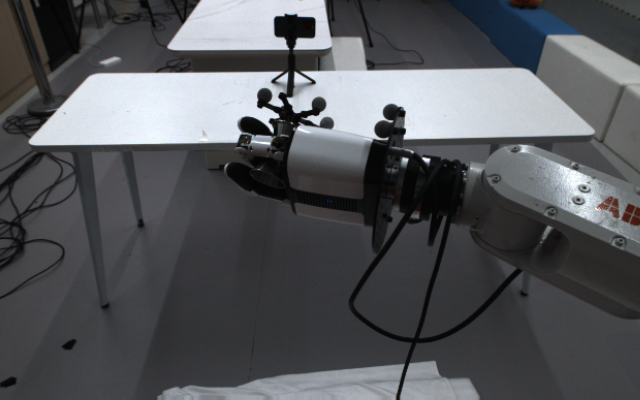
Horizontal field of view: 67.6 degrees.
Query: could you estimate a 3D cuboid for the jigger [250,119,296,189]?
[{"bbox_3d":[-0.045,-0.053,0.556,0.043,0.043,0.071,13,70,16],"label":"jigger"}]
